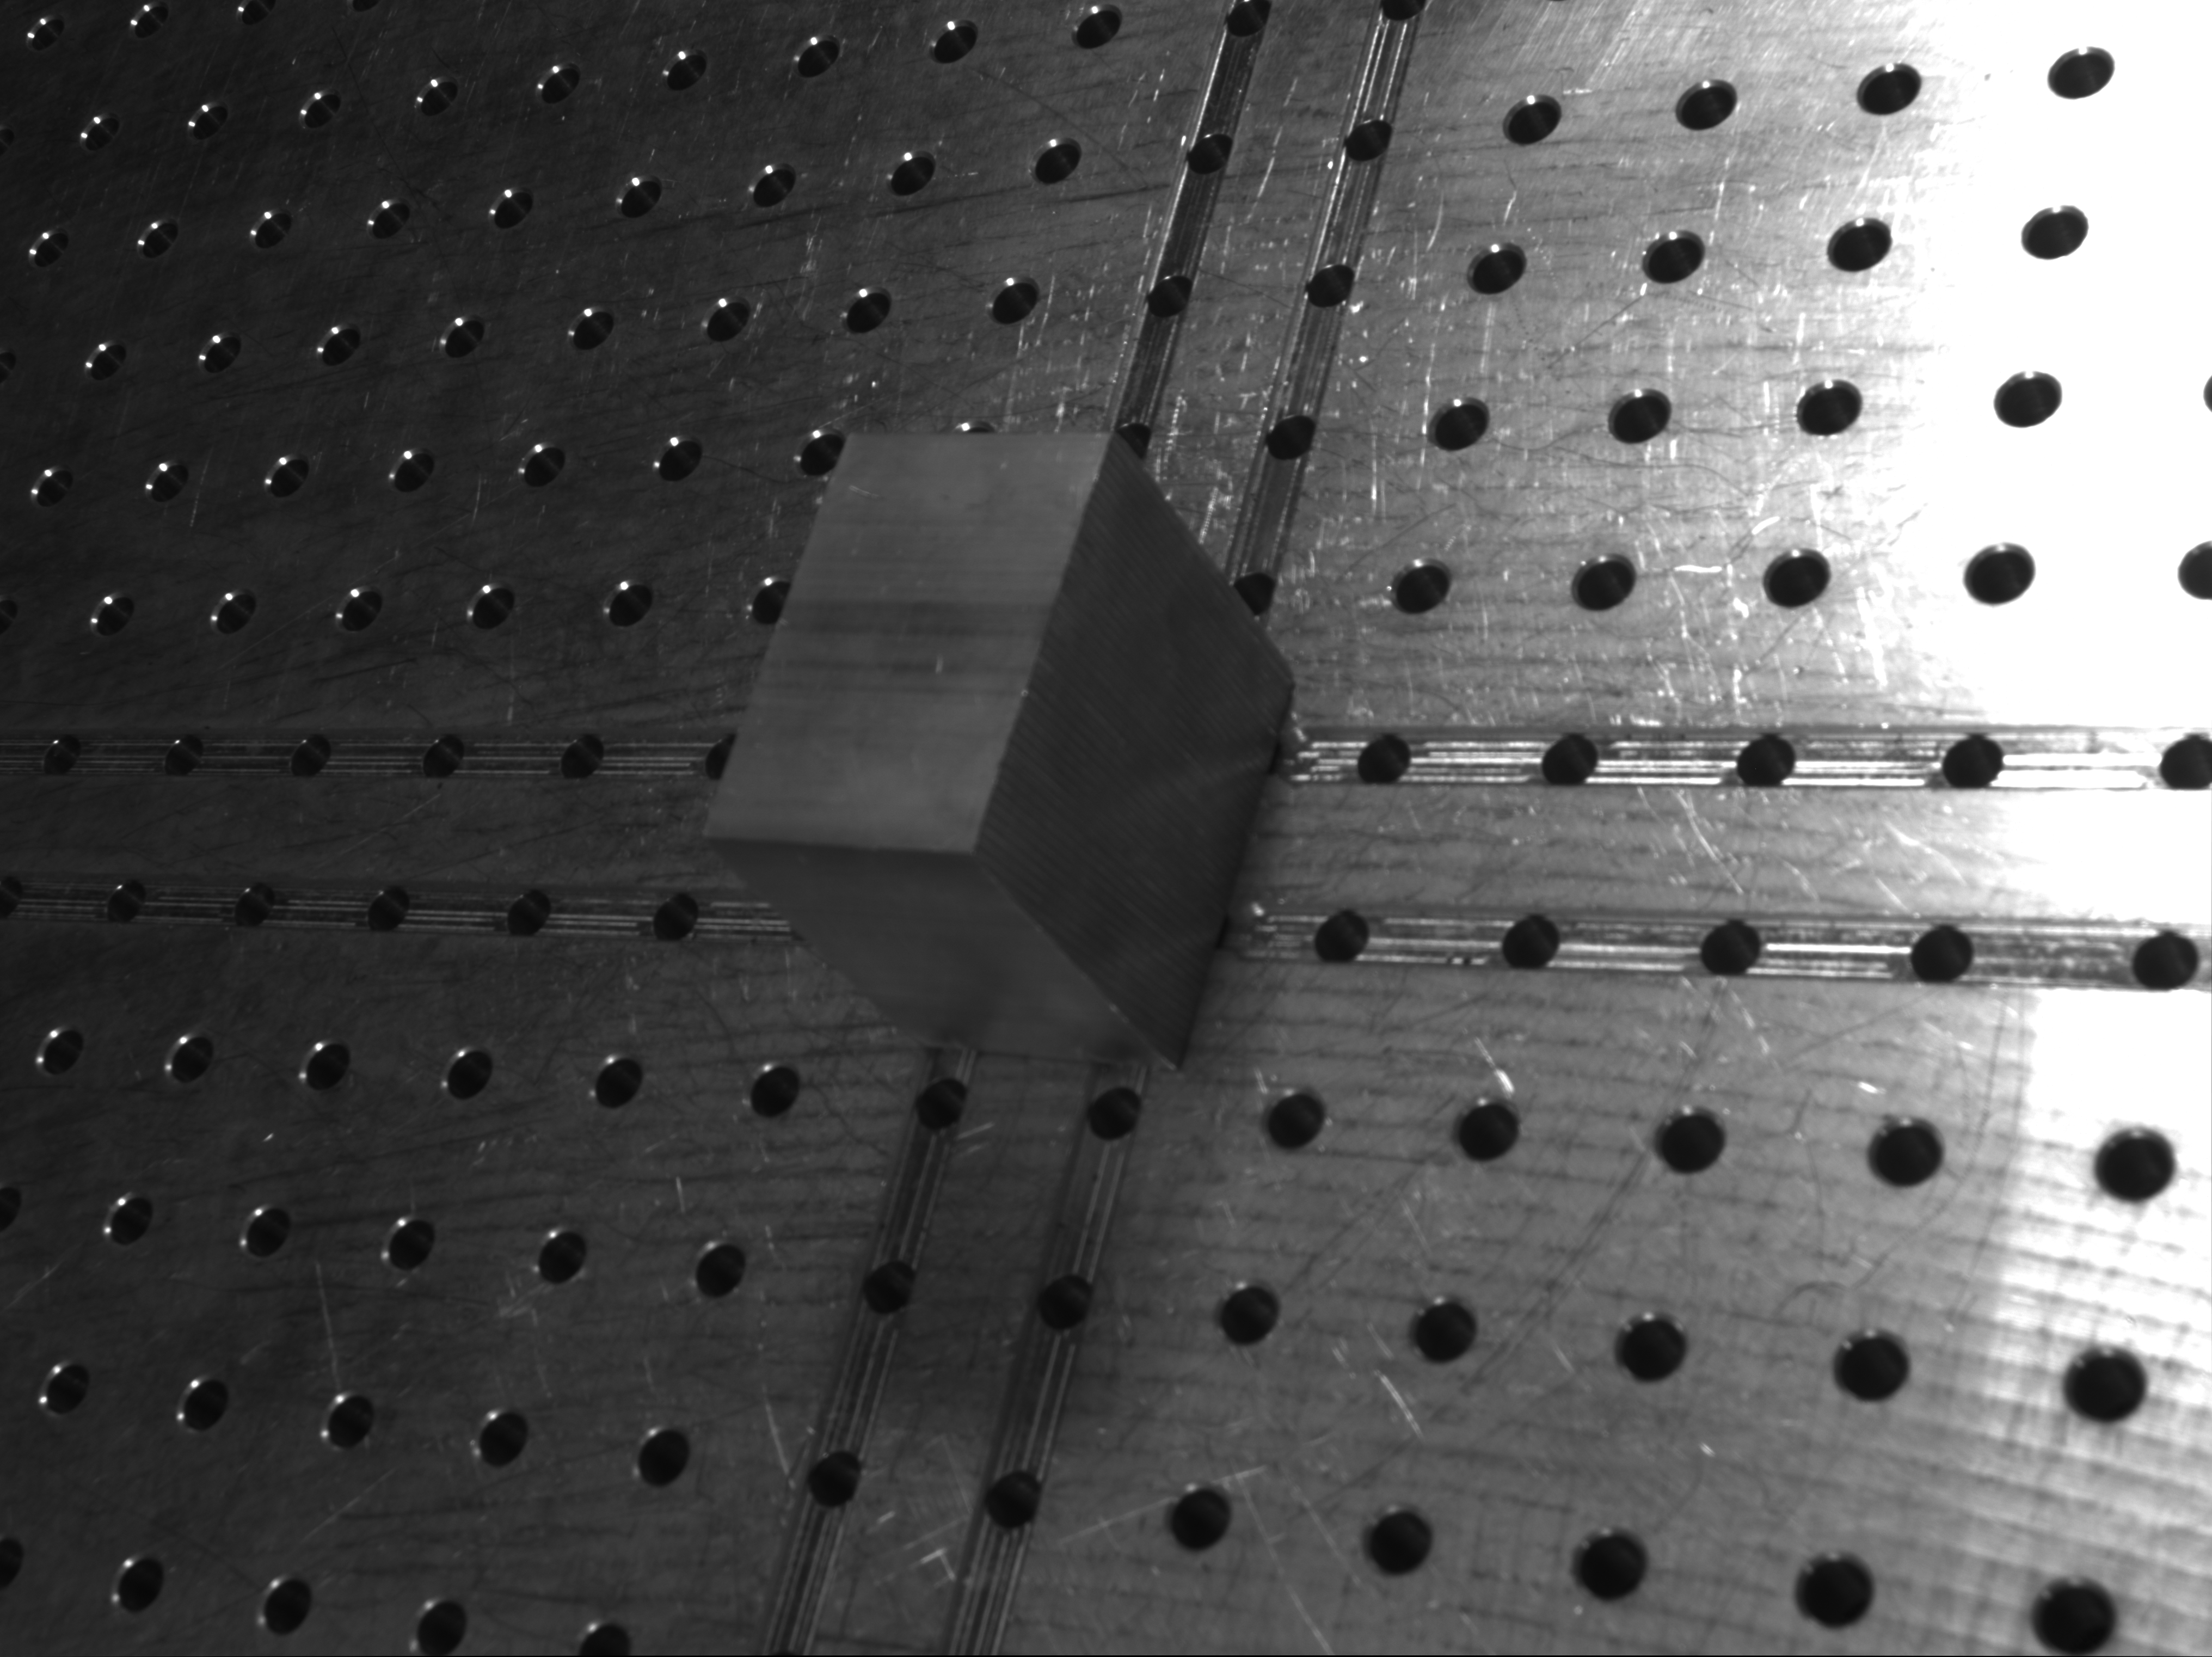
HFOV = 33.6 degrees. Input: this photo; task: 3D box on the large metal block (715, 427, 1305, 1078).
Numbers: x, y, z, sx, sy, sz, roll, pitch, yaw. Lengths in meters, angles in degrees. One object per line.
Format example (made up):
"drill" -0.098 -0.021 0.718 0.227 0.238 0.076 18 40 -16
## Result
"large metal block" -0.014 -0.013 0.626 0.050 0.080 0.080 3 63 30
